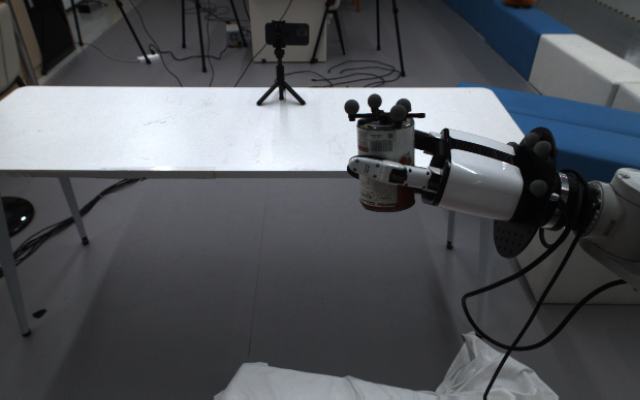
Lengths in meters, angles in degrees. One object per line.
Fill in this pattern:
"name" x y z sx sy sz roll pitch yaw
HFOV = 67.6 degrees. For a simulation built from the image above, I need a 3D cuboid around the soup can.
"soup can" 0.080 -0.045 0.576 0.067 0.101 0.067 -4 21 2
